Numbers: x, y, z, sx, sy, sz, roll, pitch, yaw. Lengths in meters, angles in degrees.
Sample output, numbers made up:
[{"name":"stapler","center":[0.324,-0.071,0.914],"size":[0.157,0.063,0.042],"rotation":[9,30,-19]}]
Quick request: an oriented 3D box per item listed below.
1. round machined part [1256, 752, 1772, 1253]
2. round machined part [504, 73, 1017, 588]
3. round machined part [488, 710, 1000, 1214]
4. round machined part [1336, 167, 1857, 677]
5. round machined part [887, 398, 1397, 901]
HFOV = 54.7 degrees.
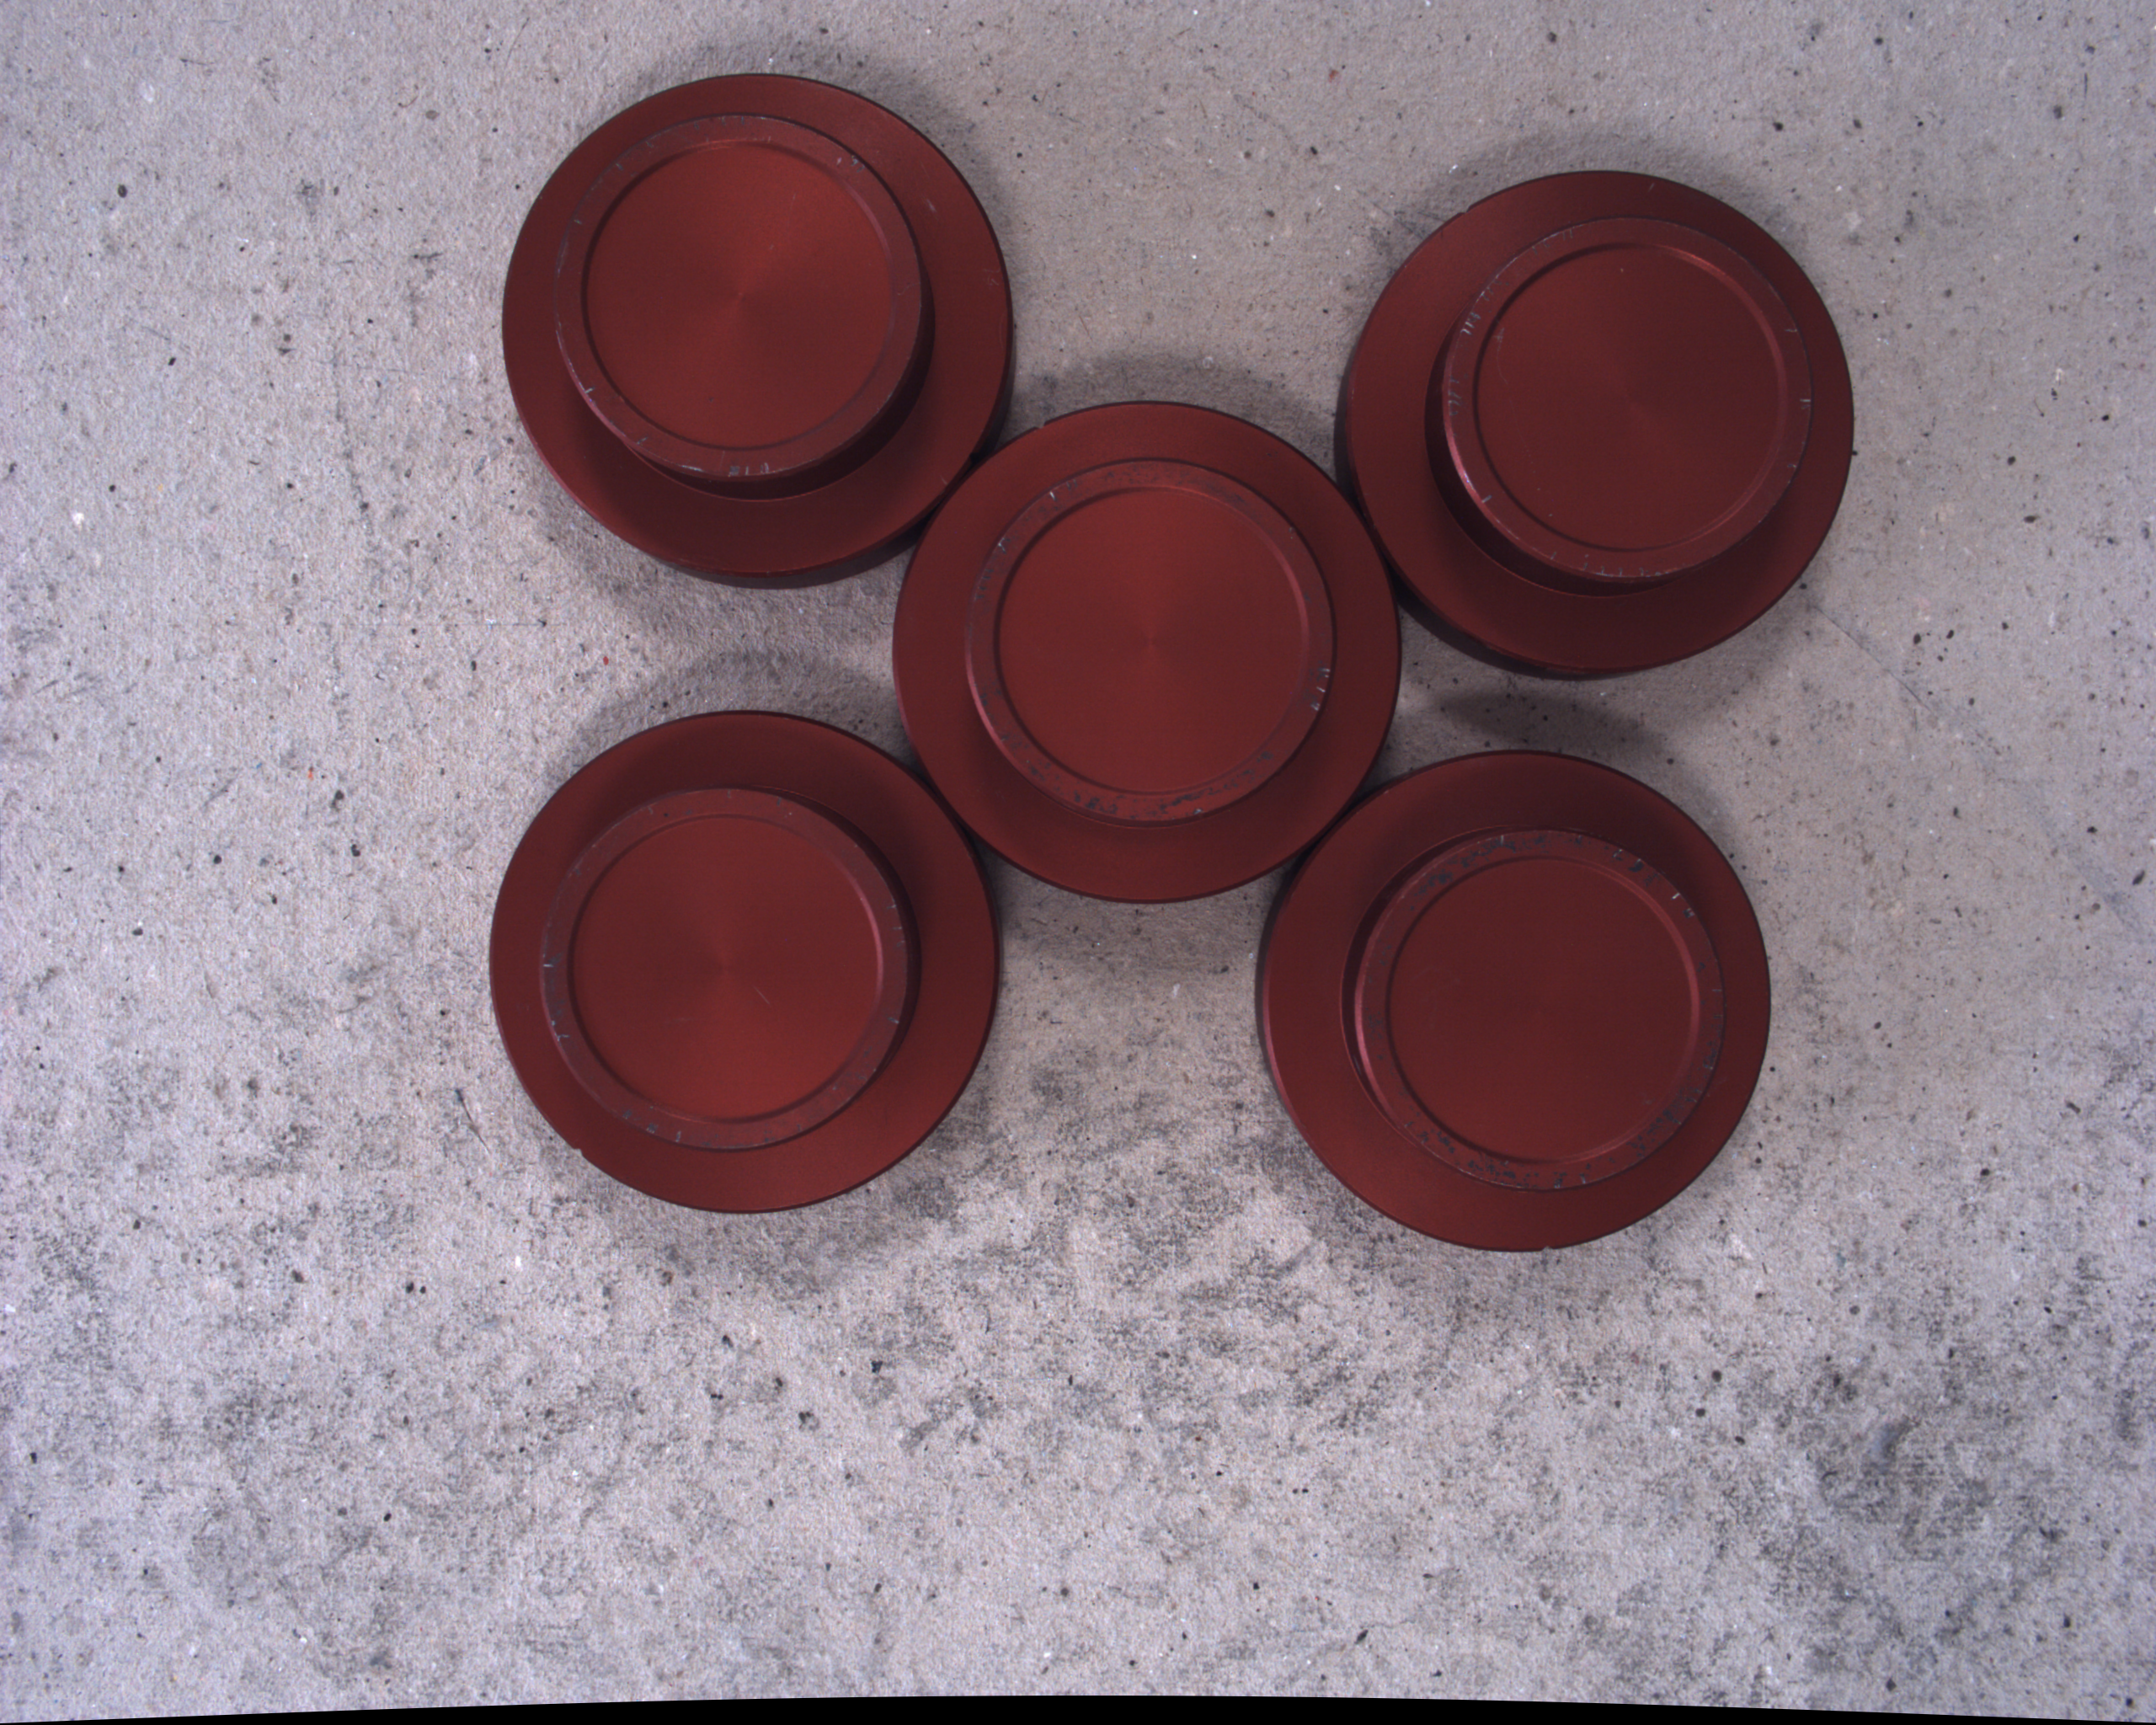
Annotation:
[{"name":"round machined part","center":[0.085,0.027,0.403],"size":[0.099,0.042,0.097],"rotation":[0,92,1]},{"name":"round machined part","center":[-0.062,-0.104,0.402],"size":[0.099,0.042,0.097],"rotation":[0,90,0]},{"name":"round machined part","center":[-0.064,0.019,0.402],"size":[0.099,0.042,0.097],"rotation":[0,91,-1]},{"name":"round machined part","center":[0.101,-0.086,0.402],"size":[0.099,0.042,0.097],"rotation":[0,92,1]},{"name":"round machined part","center":[0.012,-0.041,0.402],"size":[0.099,0.042,0.097],"rotation":[0,92,1]}]
